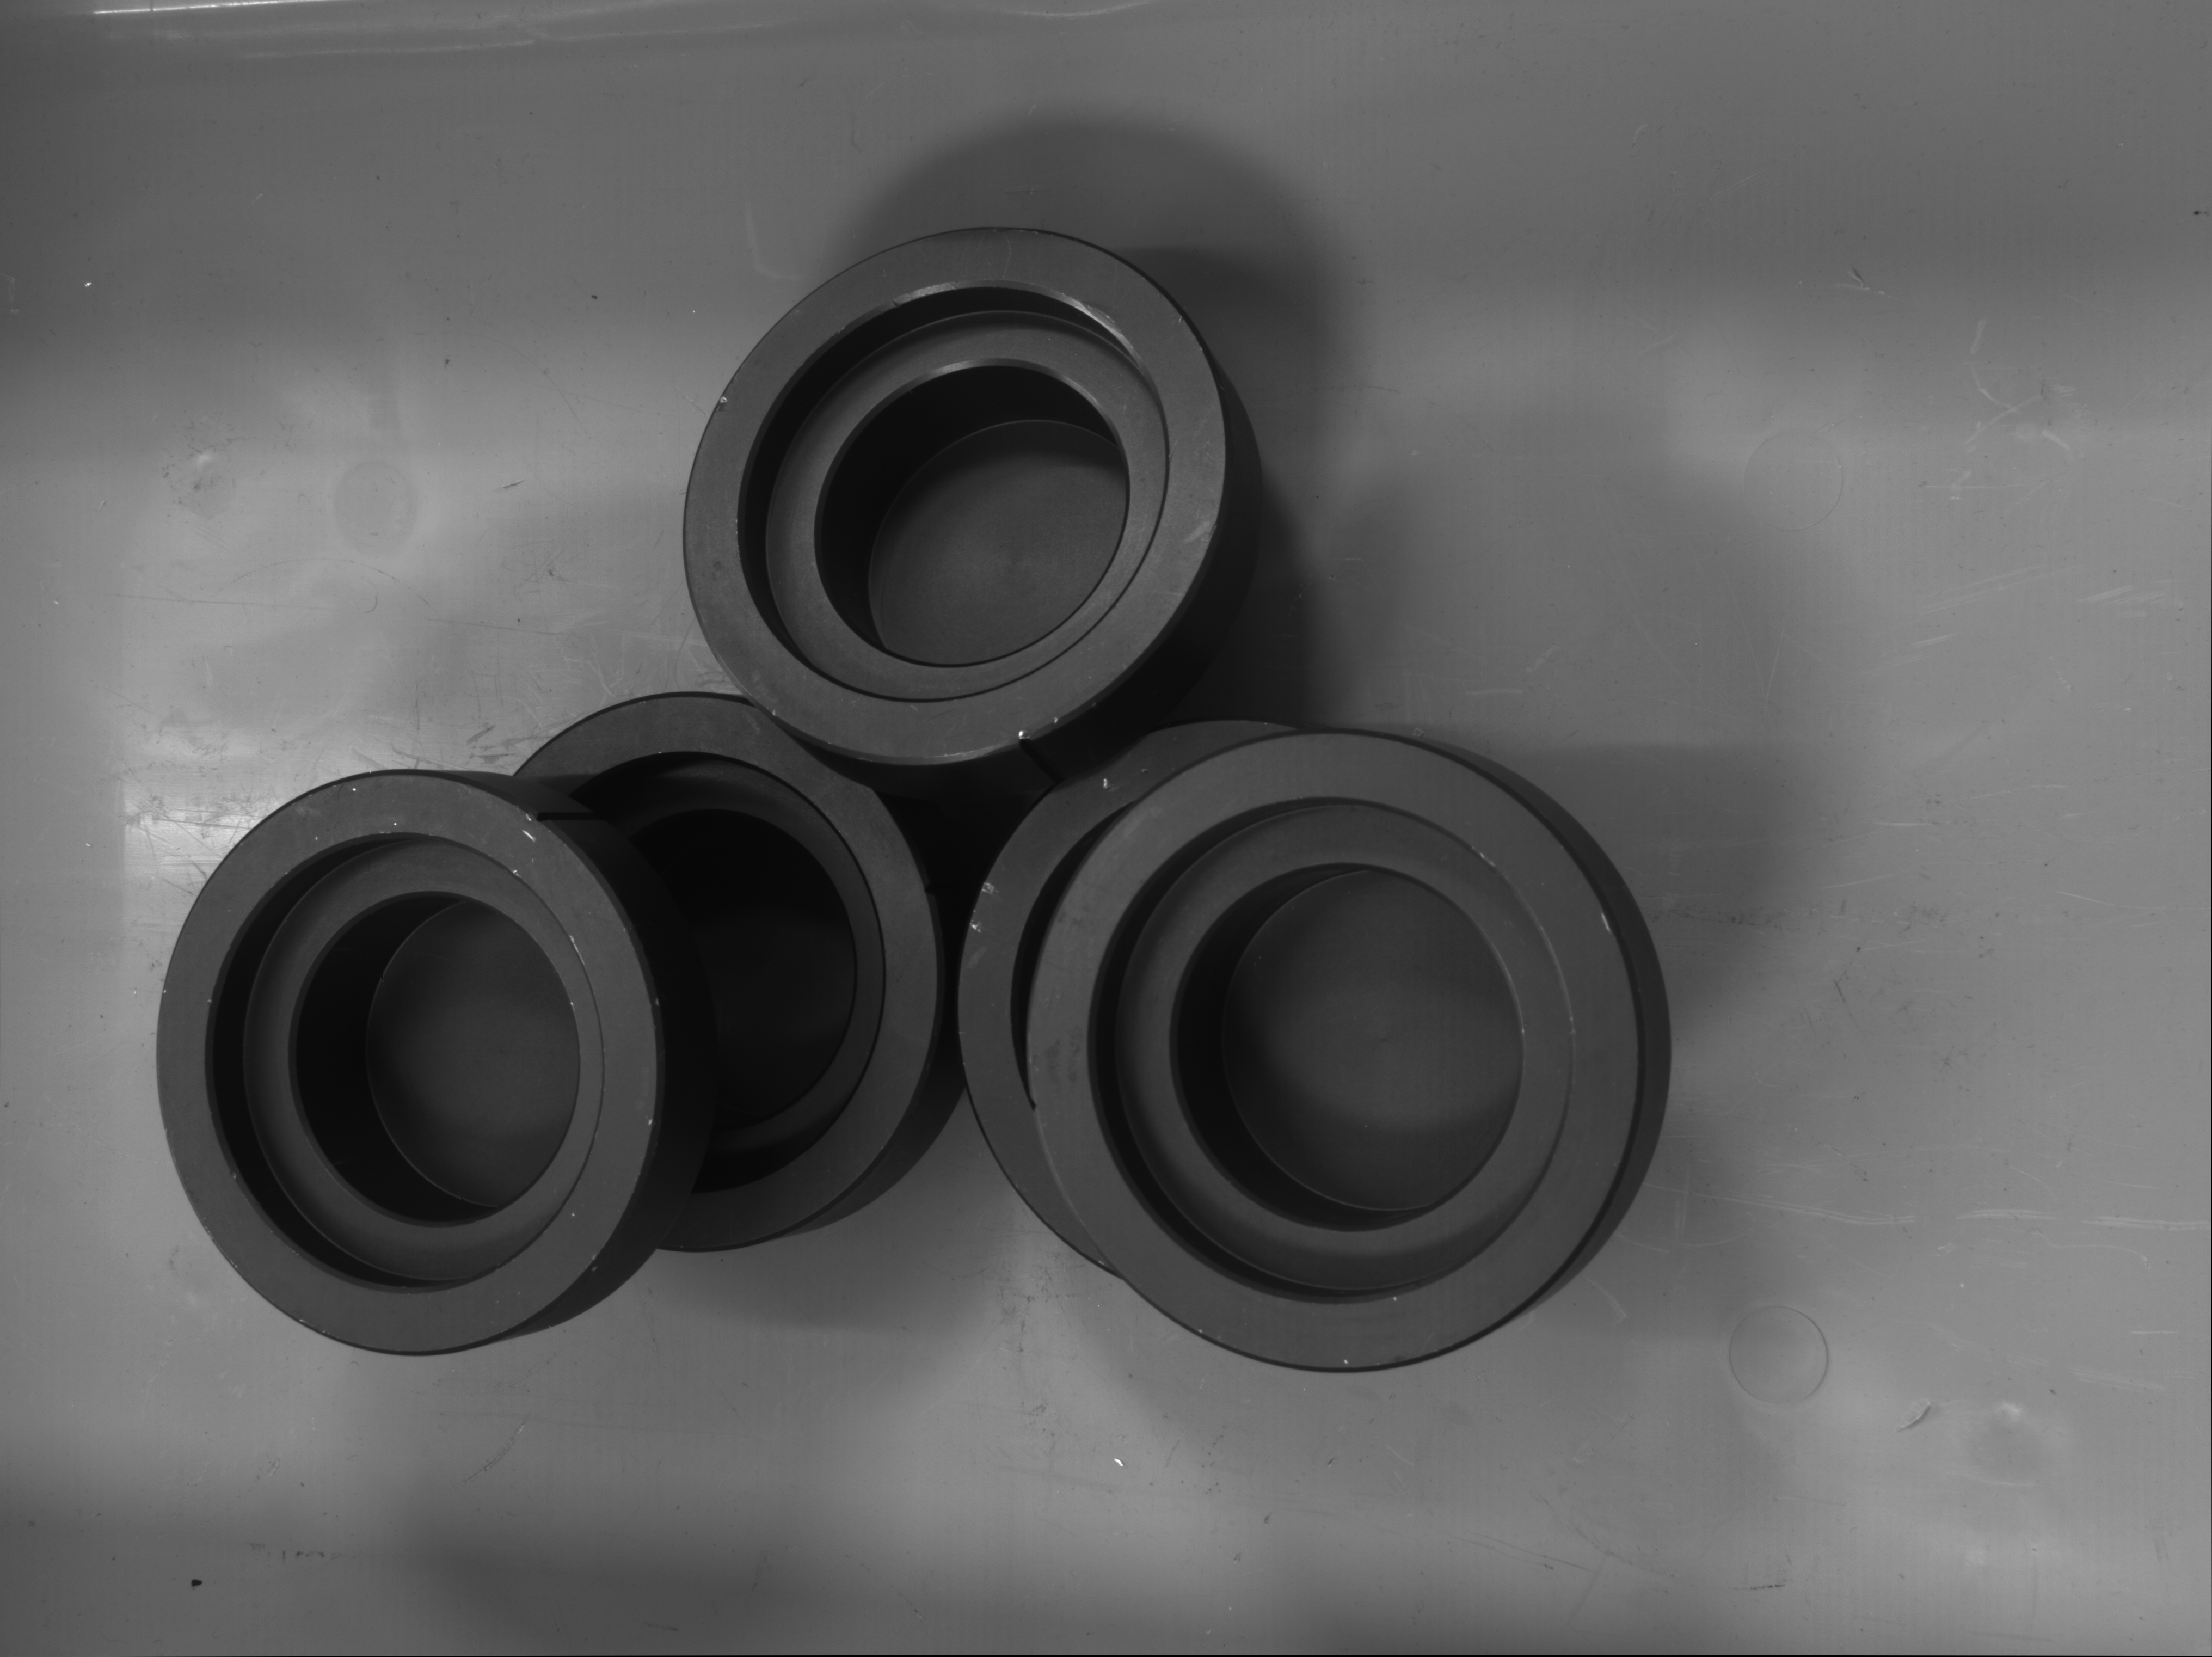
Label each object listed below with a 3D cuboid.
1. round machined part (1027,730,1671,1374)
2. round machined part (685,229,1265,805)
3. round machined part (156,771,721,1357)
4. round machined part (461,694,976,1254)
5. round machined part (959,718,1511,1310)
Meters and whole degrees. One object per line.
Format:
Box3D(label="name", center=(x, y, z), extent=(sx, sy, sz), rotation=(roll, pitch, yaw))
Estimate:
Box3D(label="round machined part", center=(0.041, 0.034, 0.577), extent=(0.098, 0.042, 0.098), rotation=(0, 90, 20))
Box3D(label="round machined part", center=(-0.019, -0.050, 0.633), extent=(0.098, 0.042, 0.098), rotation=(-6, 70, 17))
Box3D(label="round machined part", center=(-0.110, 0.039, 0.632), extent=(0.098, 0.042, 0.098), rotation=(0, 90, 20))
Box3D(label="round machined part", center=(-0.066, 0.025, 0.660), extent=(0.098, 0.042, 0.098), rotation=(0, 90, 20))
Box3D(label="round machined part", center=(0.028, 0.031, 0.626), extent=(0.098, 0.042, 0.098), rotation=(0, 90, 20))
